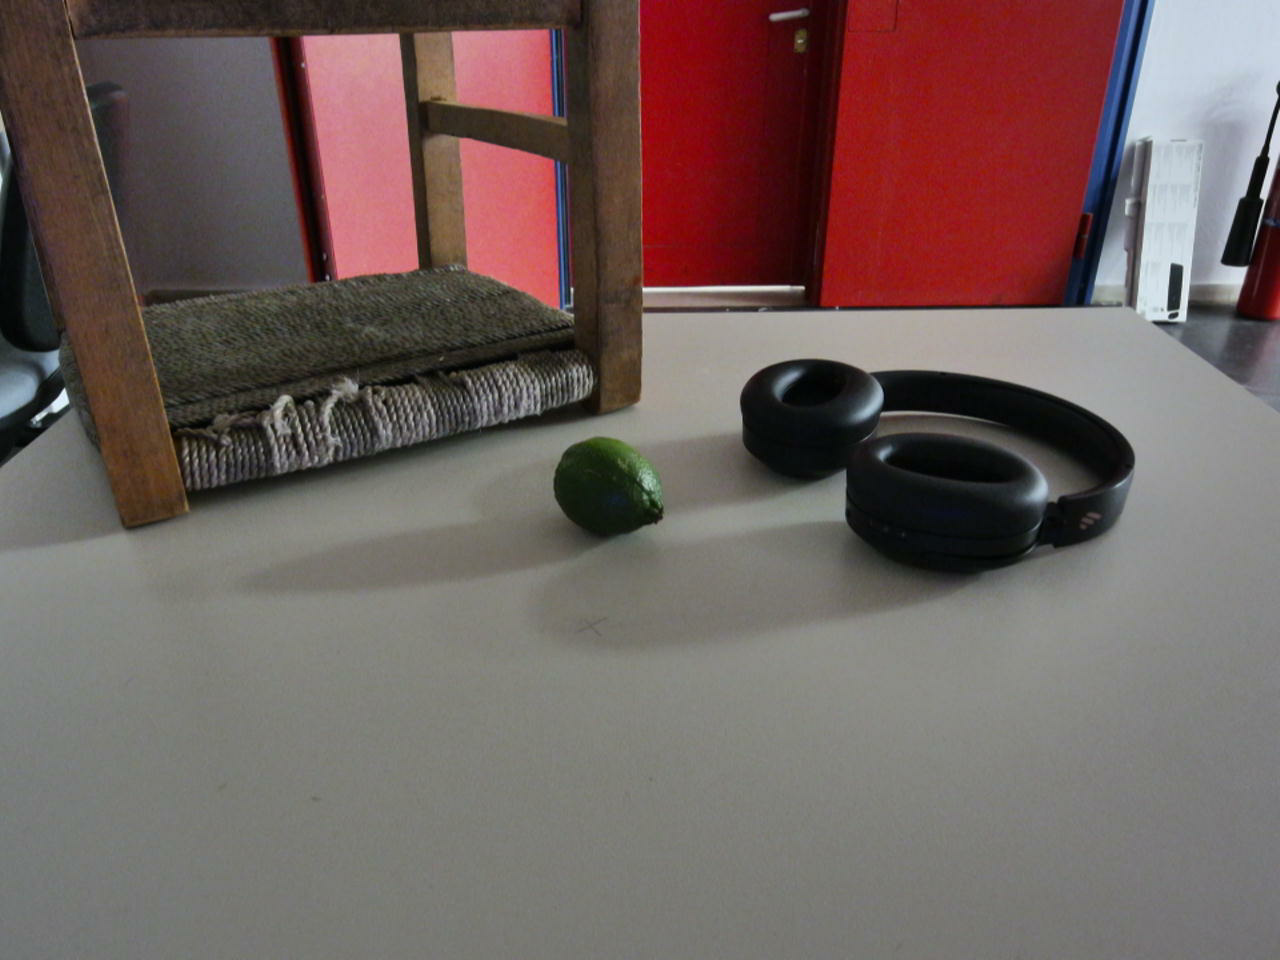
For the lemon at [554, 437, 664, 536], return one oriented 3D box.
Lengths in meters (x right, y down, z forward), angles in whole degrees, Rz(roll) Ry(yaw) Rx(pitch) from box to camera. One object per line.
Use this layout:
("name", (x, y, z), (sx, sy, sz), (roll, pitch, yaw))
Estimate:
("lemon", (-0.017, 0.003, 0.530), (0.057, 0.051, 0.054), (-3, 26, -4))
